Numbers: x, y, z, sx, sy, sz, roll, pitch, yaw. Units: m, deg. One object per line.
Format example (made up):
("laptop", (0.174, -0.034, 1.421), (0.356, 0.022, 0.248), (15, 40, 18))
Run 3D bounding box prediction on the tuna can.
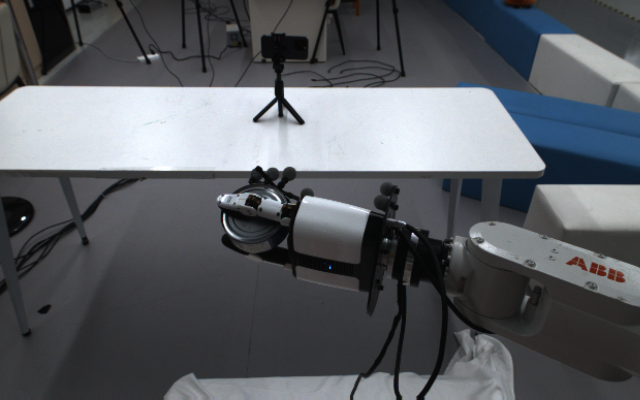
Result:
("tuna can", (-0.079, 0.022, 0.613), (0.085, 0.034, 0.085), (-4, 56, 6))
